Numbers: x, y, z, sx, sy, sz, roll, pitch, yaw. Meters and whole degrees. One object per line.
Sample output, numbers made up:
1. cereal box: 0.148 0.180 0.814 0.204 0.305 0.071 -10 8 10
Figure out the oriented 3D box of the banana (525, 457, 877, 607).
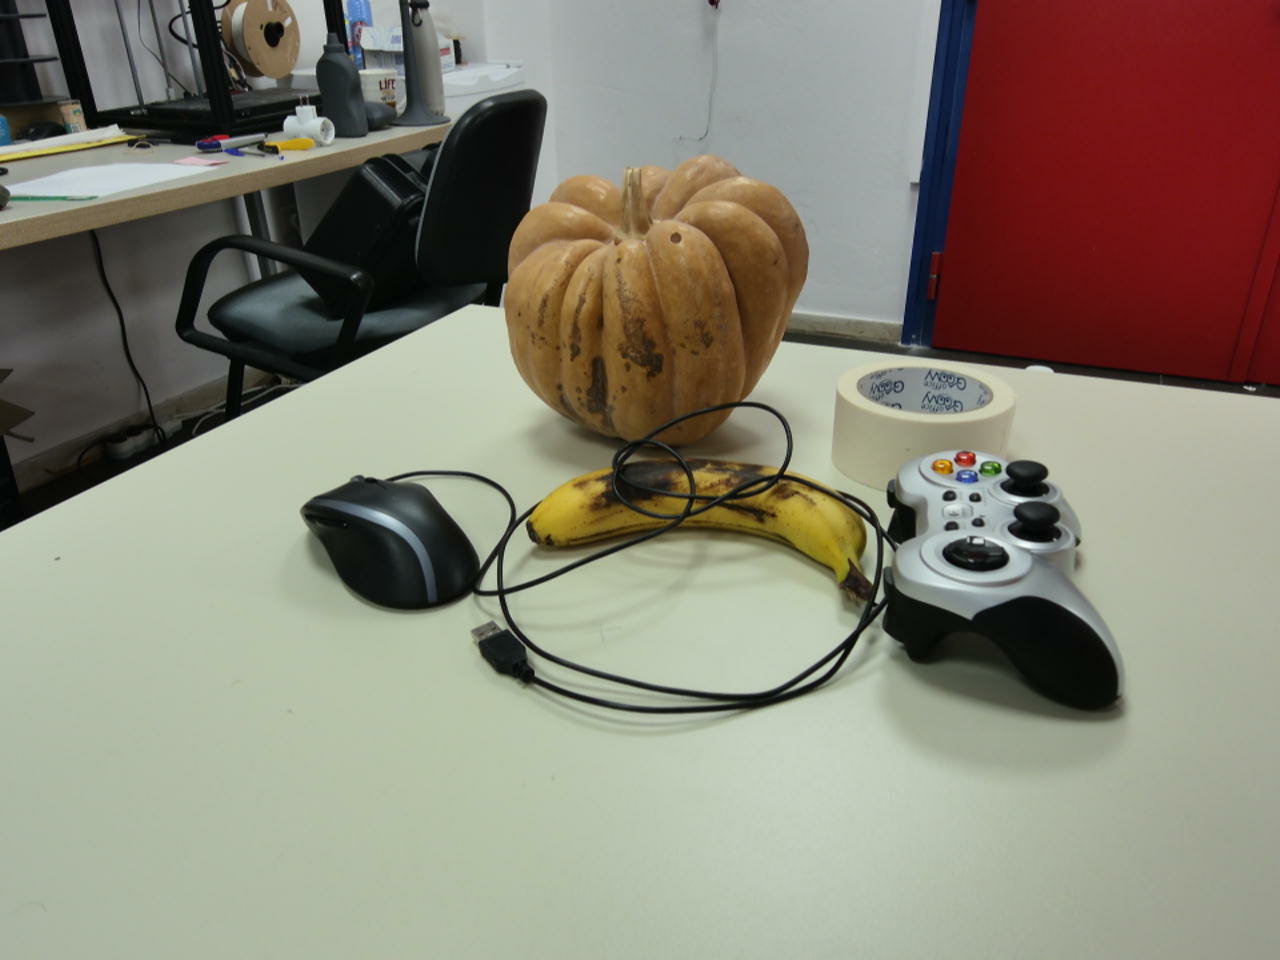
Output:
1. banana: 0.040 0.019 0.534 0.187 0.039 0.094 10 27 21
